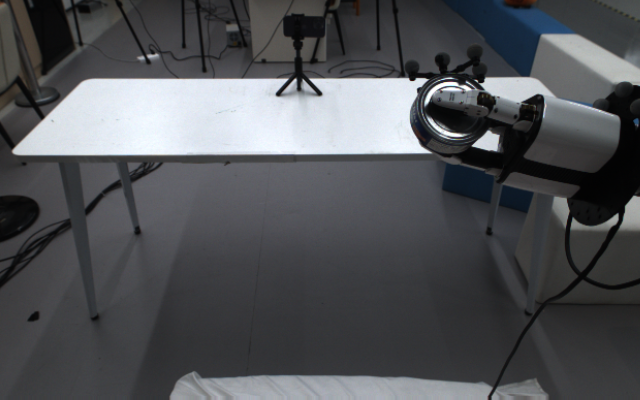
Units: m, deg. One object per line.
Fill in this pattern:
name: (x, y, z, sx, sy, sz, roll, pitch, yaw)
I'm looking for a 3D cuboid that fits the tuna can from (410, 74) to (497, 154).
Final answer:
tuna can: (0.148, -0.099, 0.545, 0.085, 0.034, 0.085, 1, 73, -4)
